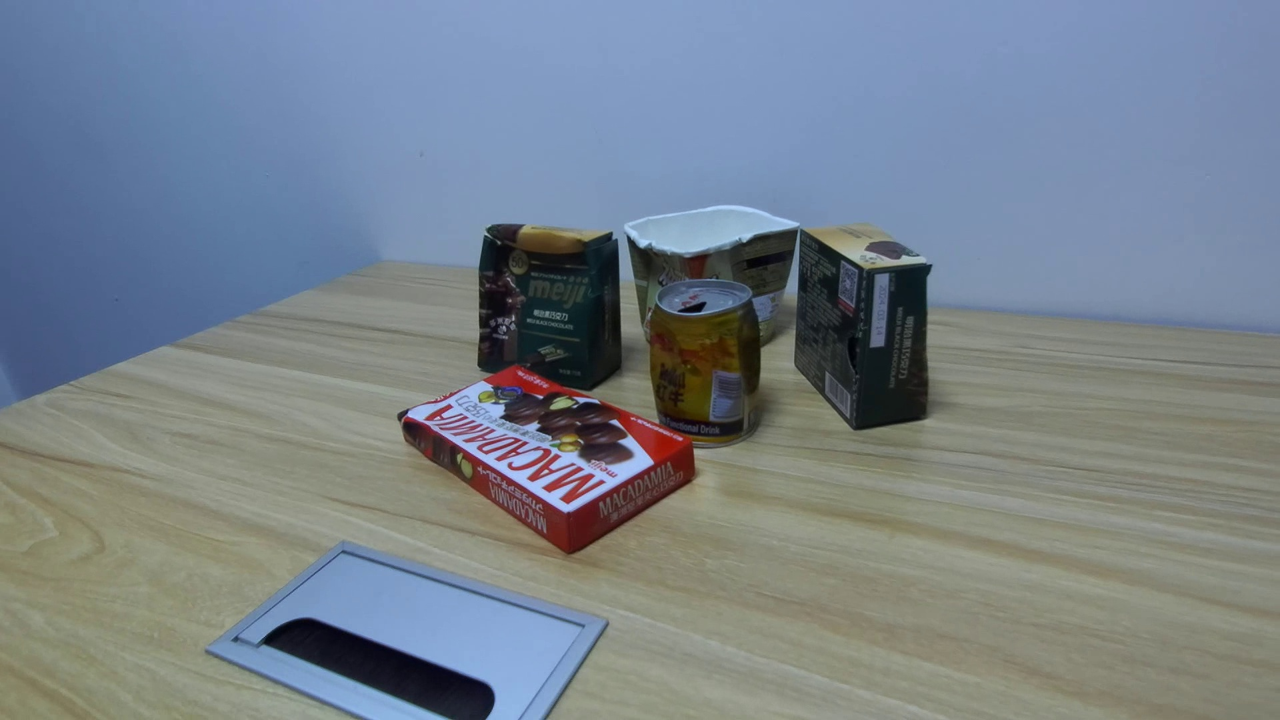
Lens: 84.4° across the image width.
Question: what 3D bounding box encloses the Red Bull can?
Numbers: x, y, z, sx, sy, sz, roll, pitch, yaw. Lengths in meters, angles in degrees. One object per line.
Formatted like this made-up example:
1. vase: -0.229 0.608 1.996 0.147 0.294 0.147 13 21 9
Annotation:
1. Red Bull can: 0.041 0.001 0.448 0.072 0.092 0.072 -2 26 2

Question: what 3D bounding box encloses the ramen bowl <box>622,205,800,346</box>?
1. ramen bowl: 0.050 -0.071 0.599 0.114 0.097 0.133 -25 32 -35

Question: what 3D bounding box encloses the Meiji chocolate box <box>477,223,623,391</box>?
1. Meiji chocolate box: -0.070 -0.044 0.549 0.117 0.117 0.052 10 19 27

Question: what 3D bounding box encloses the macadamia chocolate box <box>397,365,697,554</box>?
1. macadamia chocolate box: -0.063 0.050 0.444 0.106 0.028 0.182 -25 31 -38

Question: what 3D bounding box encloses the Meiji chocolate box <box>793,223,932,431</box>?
1. Meiji chocolate box: 0.151 -0.027 0.478 0.058 0.111 0.113 -7 24 -7
